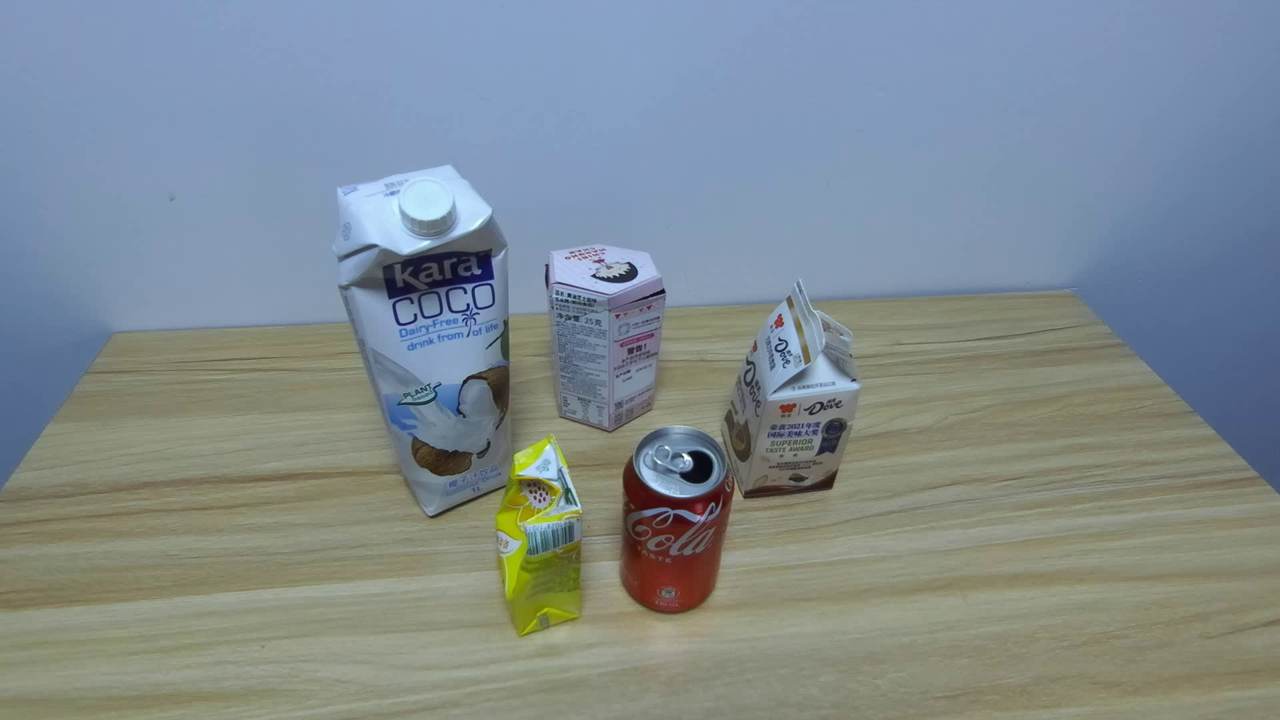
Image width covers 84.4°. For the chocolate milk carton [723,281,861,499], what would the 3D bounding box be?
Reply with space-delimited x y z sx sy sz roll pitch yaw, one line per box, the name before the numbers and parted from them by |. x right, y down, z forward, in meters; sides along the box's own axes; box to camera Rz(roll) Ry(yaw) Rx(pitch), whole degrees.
chocolate milk carton | 0.111 0.019 0.512 0.073 0.155 0.084 -4 41 -8

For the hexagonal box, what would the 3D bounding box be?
hexagonal box | -0.029 -0.019 0.566 0.092 0.135 0.084 -26 48 -29

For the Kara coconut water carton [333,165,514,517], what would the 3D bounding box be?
Kara coconut water carton | -0.131 -0.009 0.466 0.100 0.244 0.071 -24 47 -26

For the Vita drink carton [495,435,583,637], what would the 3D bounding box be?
Vita drink carton | -0.066 0.109 0.438 0.046 0.110 0.071 -11 41 -18

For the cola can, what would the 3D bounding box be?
cola can | 0.022 0.100 0.442 0.068 0.120 0.067 1 42 0
